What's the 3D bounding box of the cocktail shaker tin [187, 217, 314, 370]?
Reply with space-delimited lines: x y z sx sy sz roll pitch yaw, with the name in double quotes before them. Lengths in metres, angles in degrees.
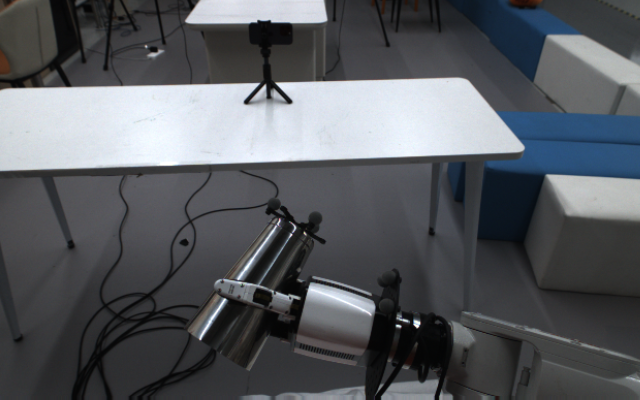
"cocktail shaker tin" -0.077 0.105 0.595 0.093 0.093 0.170 22 67 26
